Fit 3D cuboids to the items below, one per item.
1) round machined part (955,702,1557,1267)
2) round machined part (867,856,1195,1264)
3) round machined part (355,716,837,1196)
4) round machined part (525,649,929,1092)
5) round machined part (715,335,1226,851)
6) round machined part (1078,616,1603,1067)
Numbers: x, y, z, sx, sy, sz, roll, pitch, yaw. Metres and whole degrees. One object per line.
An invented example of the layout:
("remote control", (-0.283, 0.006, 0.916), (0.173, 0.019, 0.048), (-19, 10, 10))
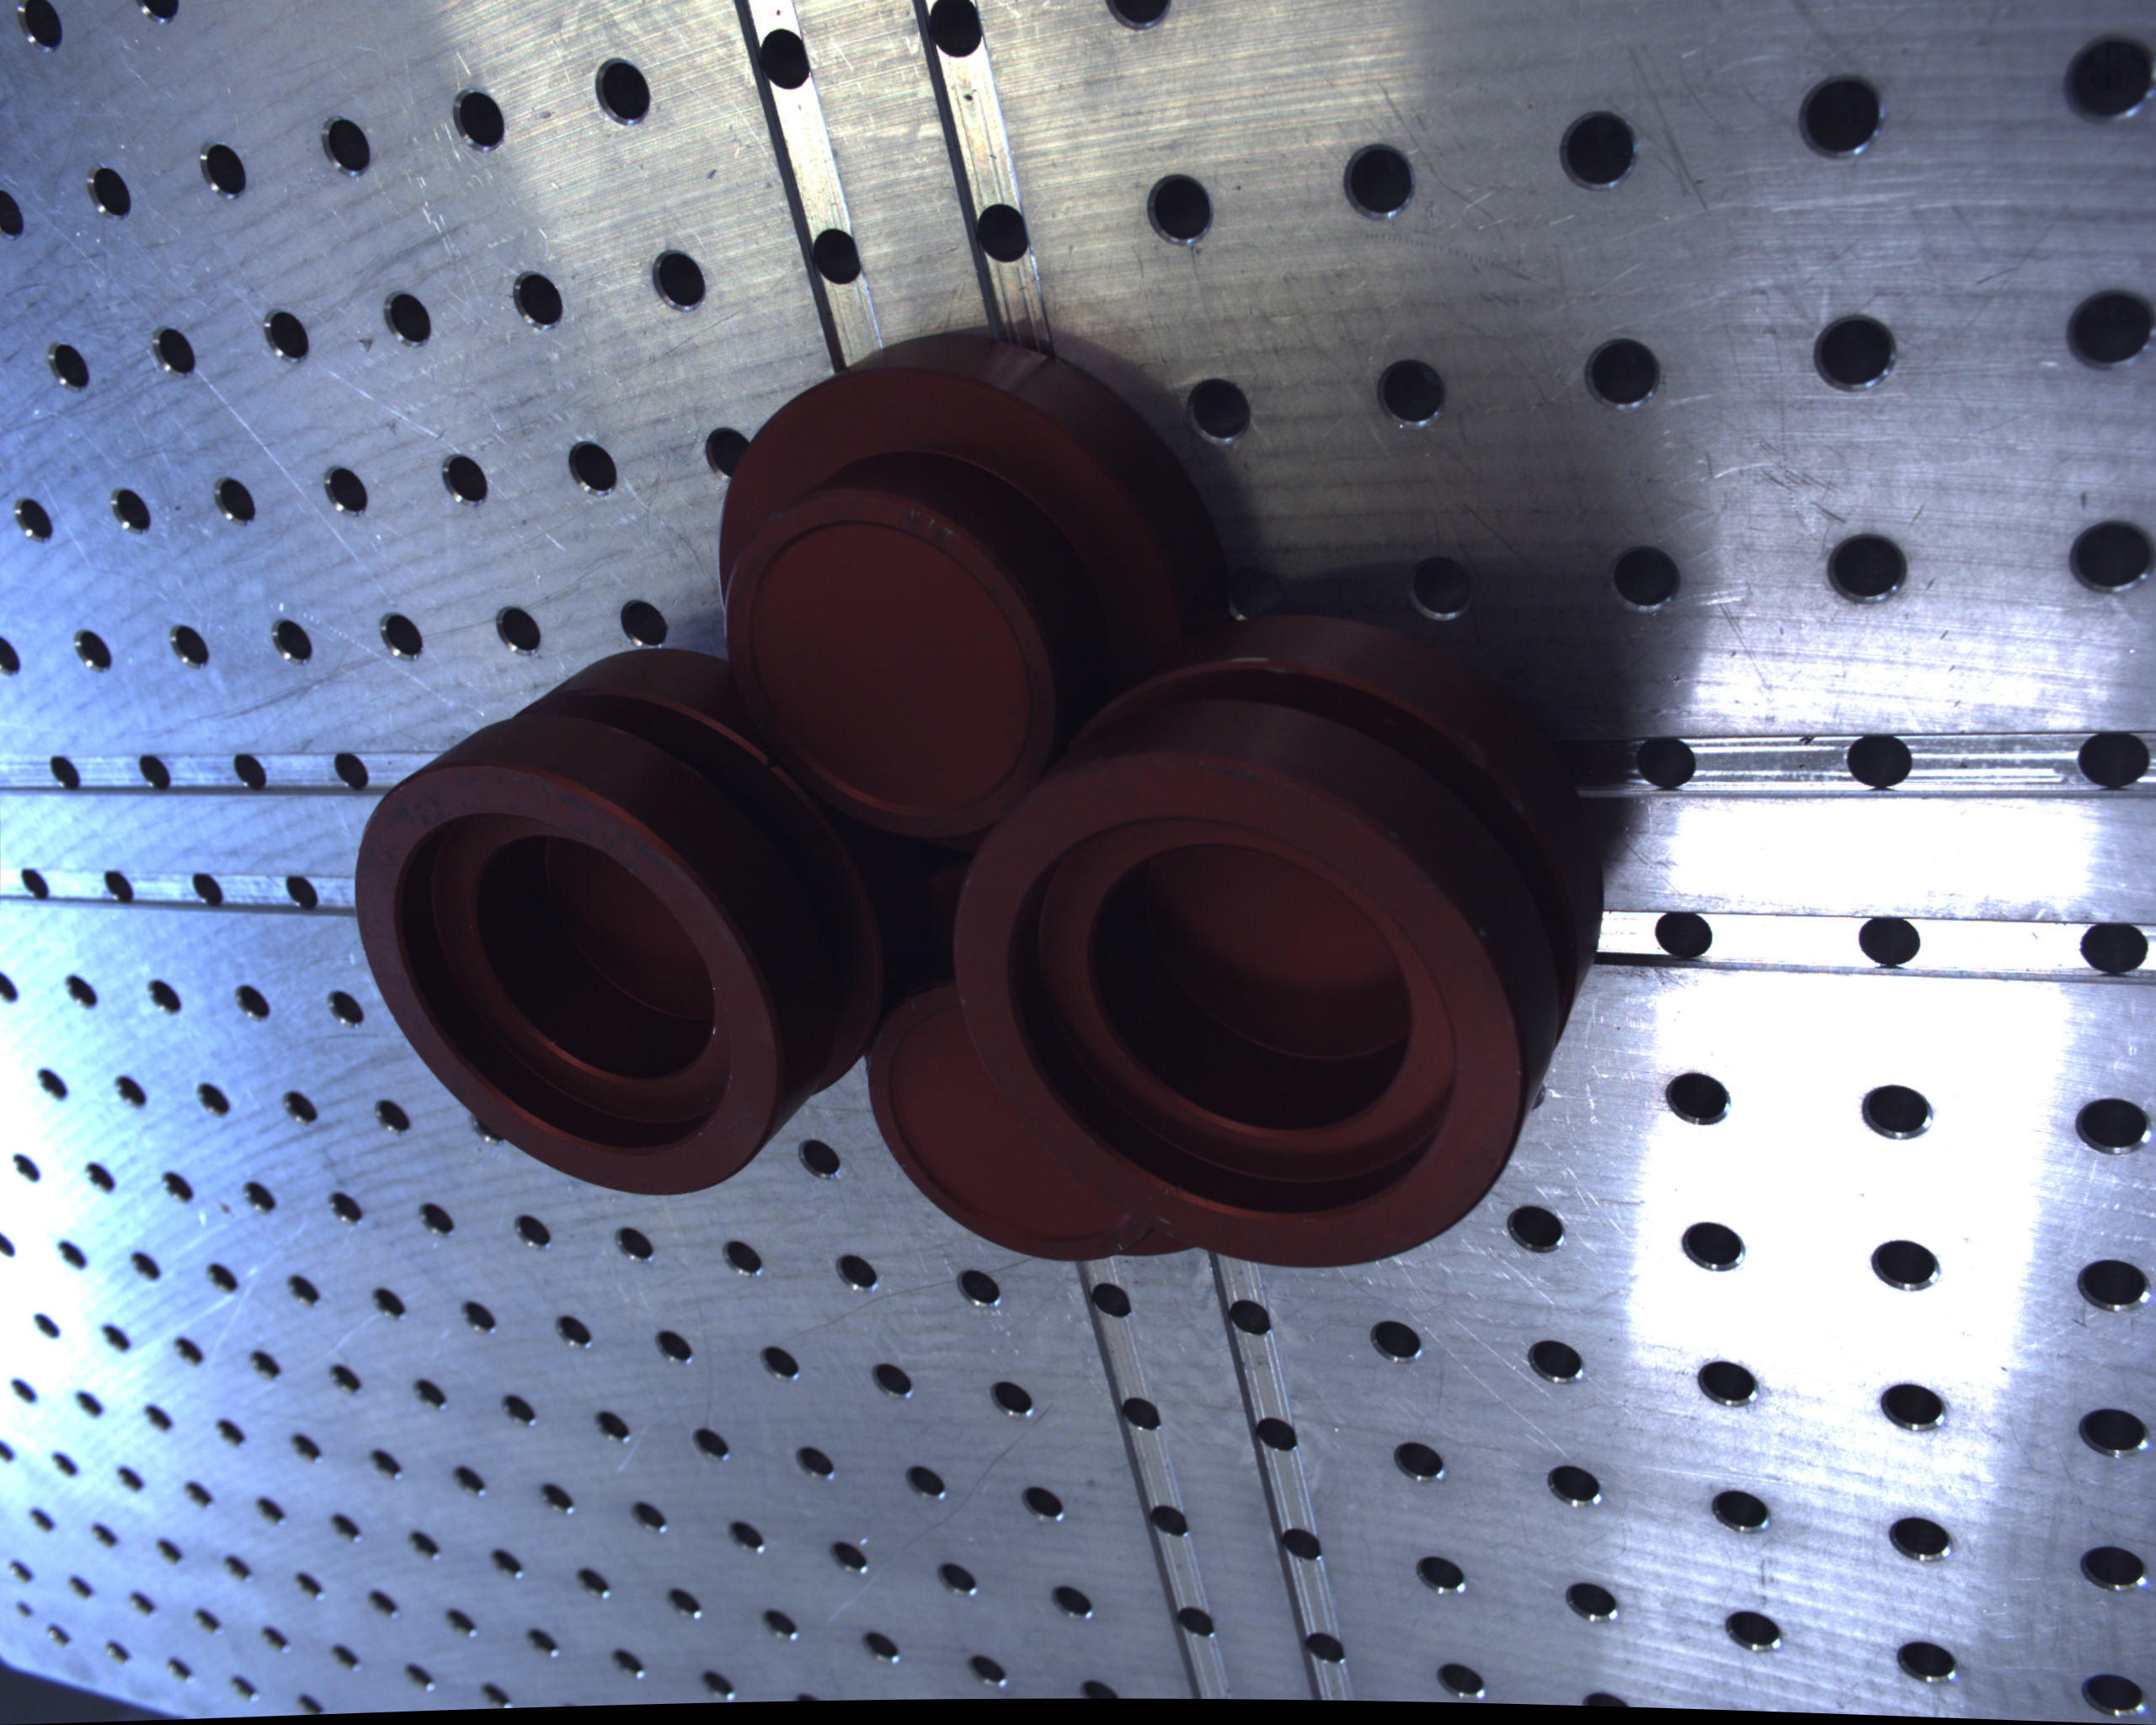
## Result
("round machined part", (0.032, 0.017, 0.352), (0.098, 0.042, 0.097), (13, 124, 21))
("round machined part", (-0.004, 0.043, 0.428), (0.098, 0.042, 0.097), (13, 124, 21))
("round machined part", (-0.090, 0.015, 0.415), (0.098, 0.042, 0.097), (13, 124, 21))
("round machined part", (-0.074, 0.000, 0.439), (0.098, 0.042, 0.097), (13, 124, 21))
("round machined part", (-0.026, -0.044, 0.387), (0.098, 0.042, 0.097), (13, 124, 21))
("round machined part", (0.045, 0.000, 0.376), (0.098, 0.042, 0.097), (13, 124, 21))
